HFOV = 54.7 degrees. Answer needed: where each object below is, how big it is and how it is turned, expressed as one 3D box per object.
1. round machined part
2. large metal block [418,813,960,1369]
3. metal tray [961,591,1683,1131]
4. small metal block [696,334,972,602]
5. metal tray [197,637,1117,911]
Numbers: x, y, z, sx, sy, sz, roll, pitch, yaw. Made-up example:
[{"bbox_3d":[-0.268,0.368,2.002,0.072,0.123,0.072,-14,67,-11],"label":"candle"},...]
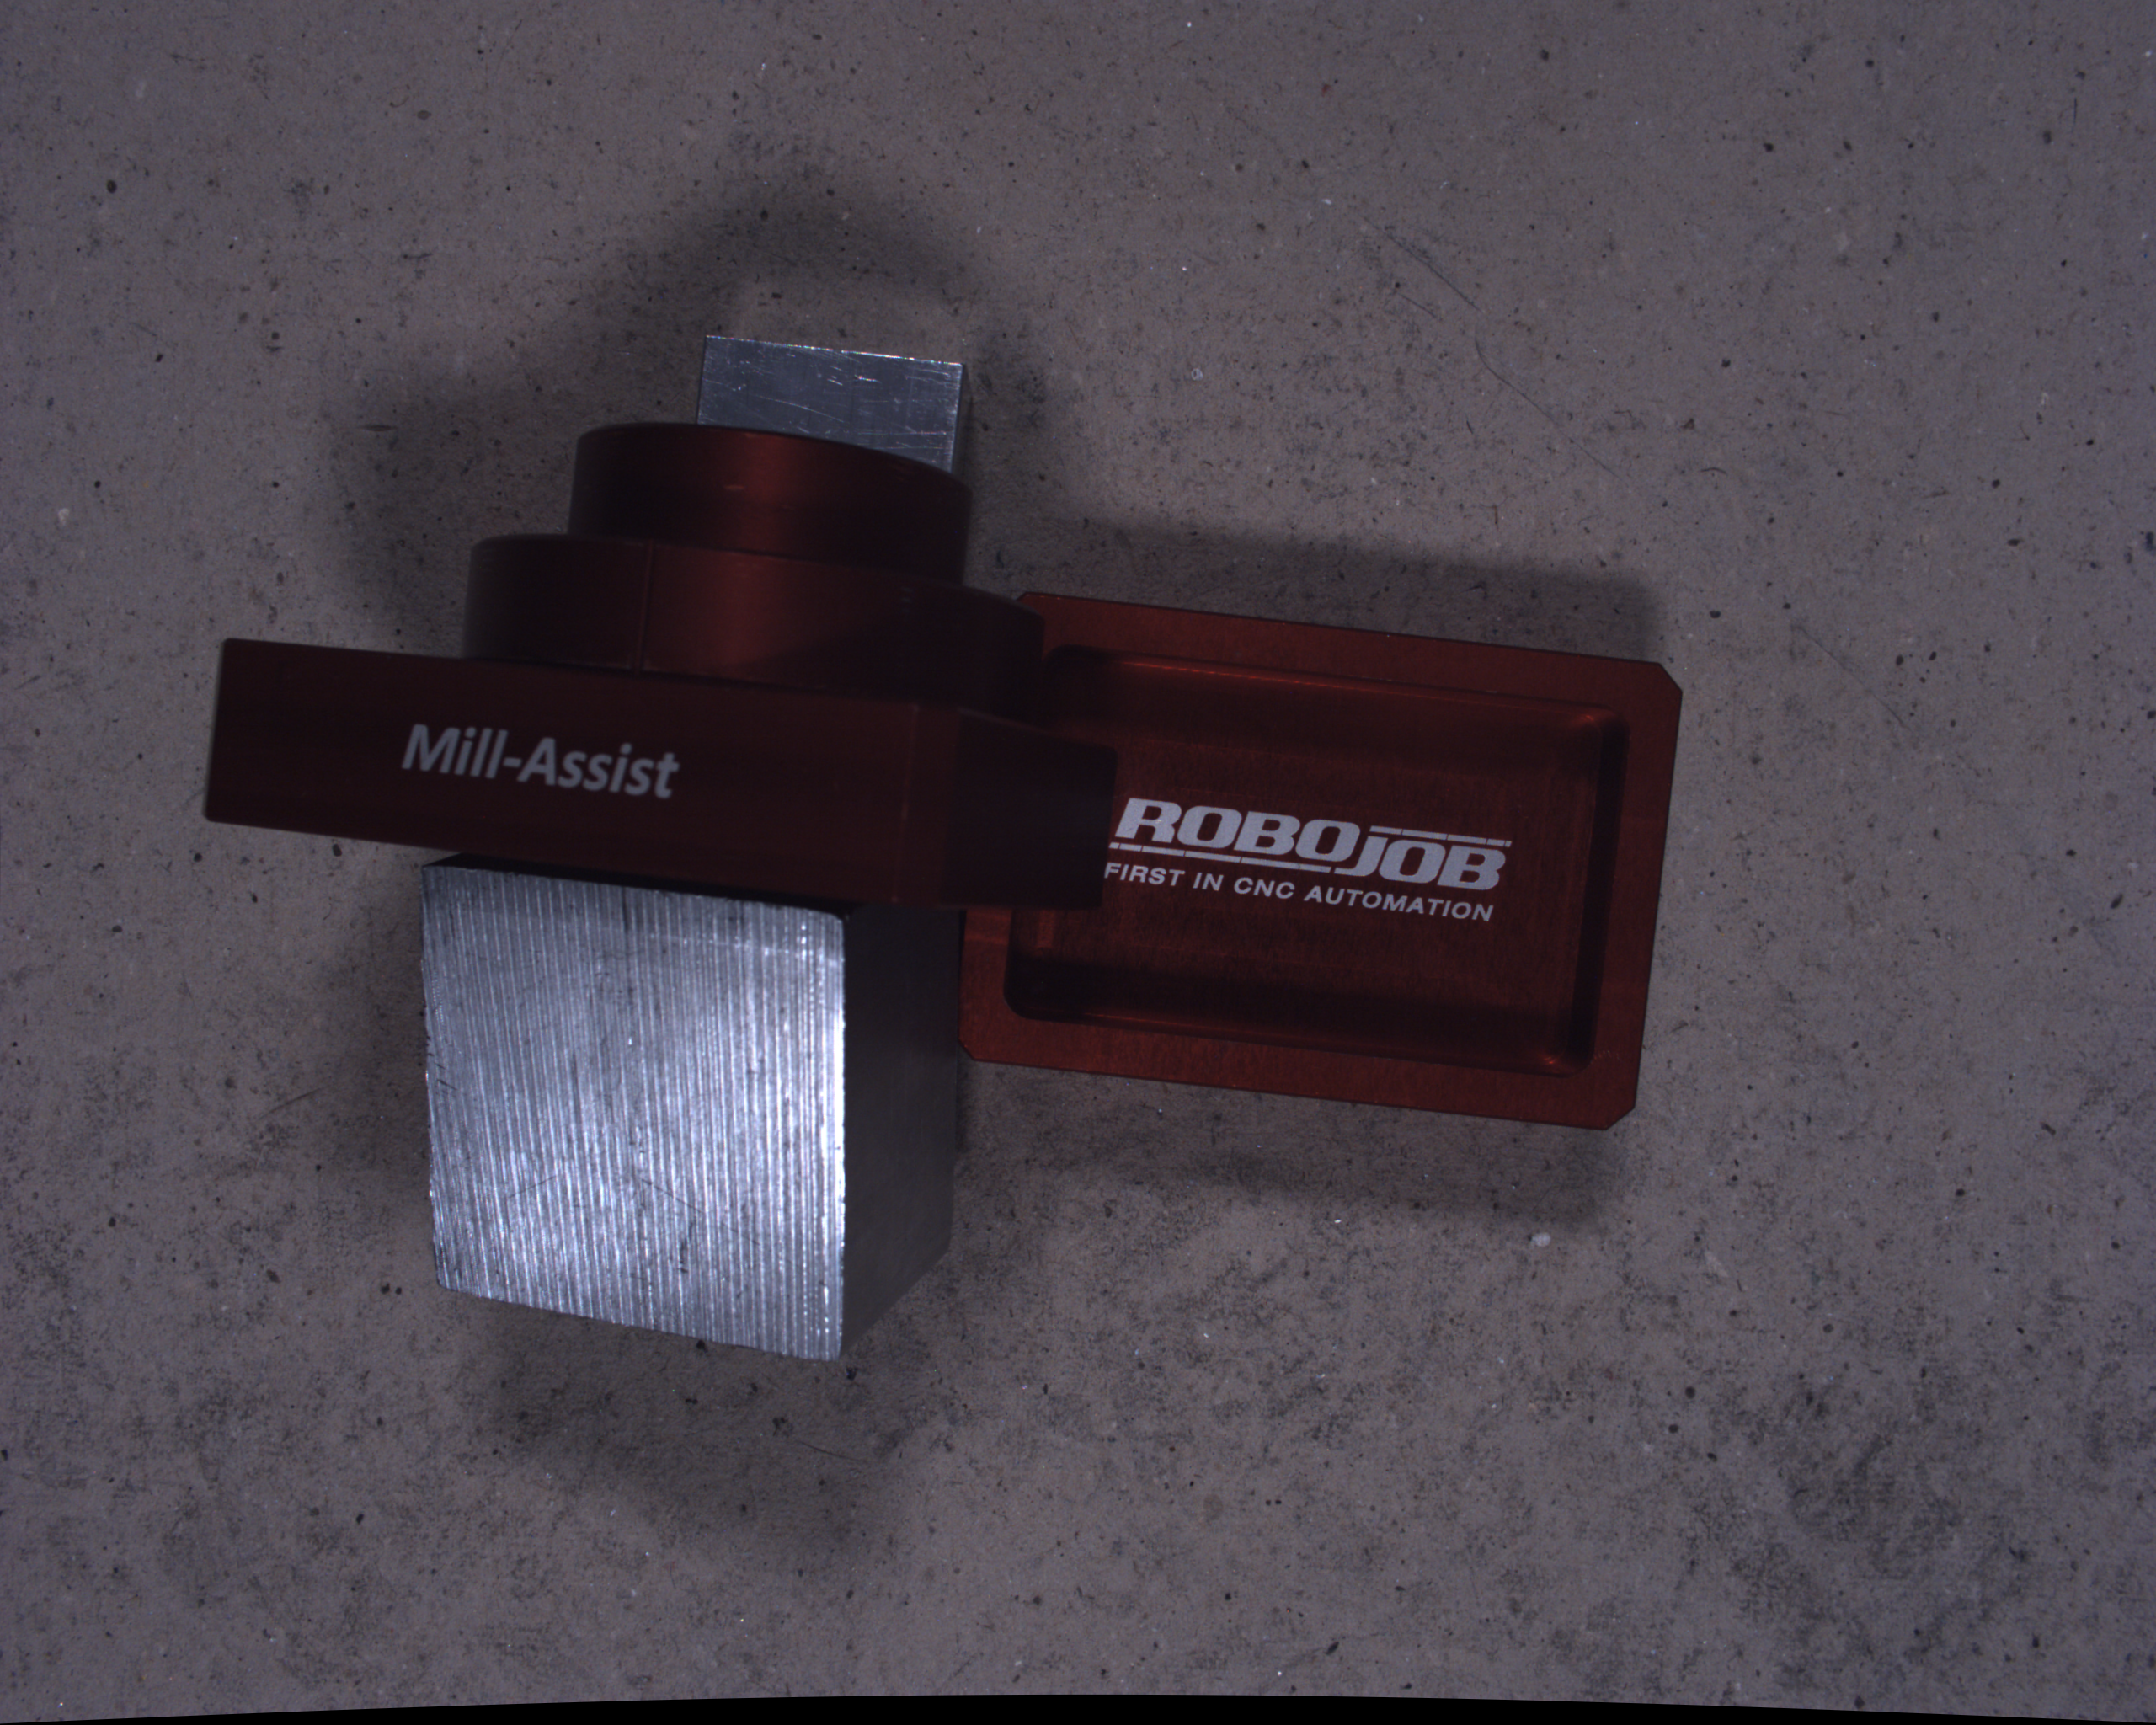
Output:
[{"bbox_3d":[-0.054,-0.048,0.363,0.099,0.098,0.042,6,90,-1],"label":"round machined part"},{"bbox_3d":[-0.069,0.038,0.379,0.080,0.050,0.079,6,103,17],"label":"large metal block"},{"bbox_3d":[0.045,0.000,0.409,0.131,0.030,0.089,6,90,-1],"label":"metal tray"},{"bbox_3d":[-0.049,-0.074,0.411,0.050,0.025,0.050,7,90,-1],"label":"small metal block"},{"bbox_3d":[-0.069,-0.014,0.361,0.130,0.090,0.030,7,91,18],"label":"metal tray"}]
